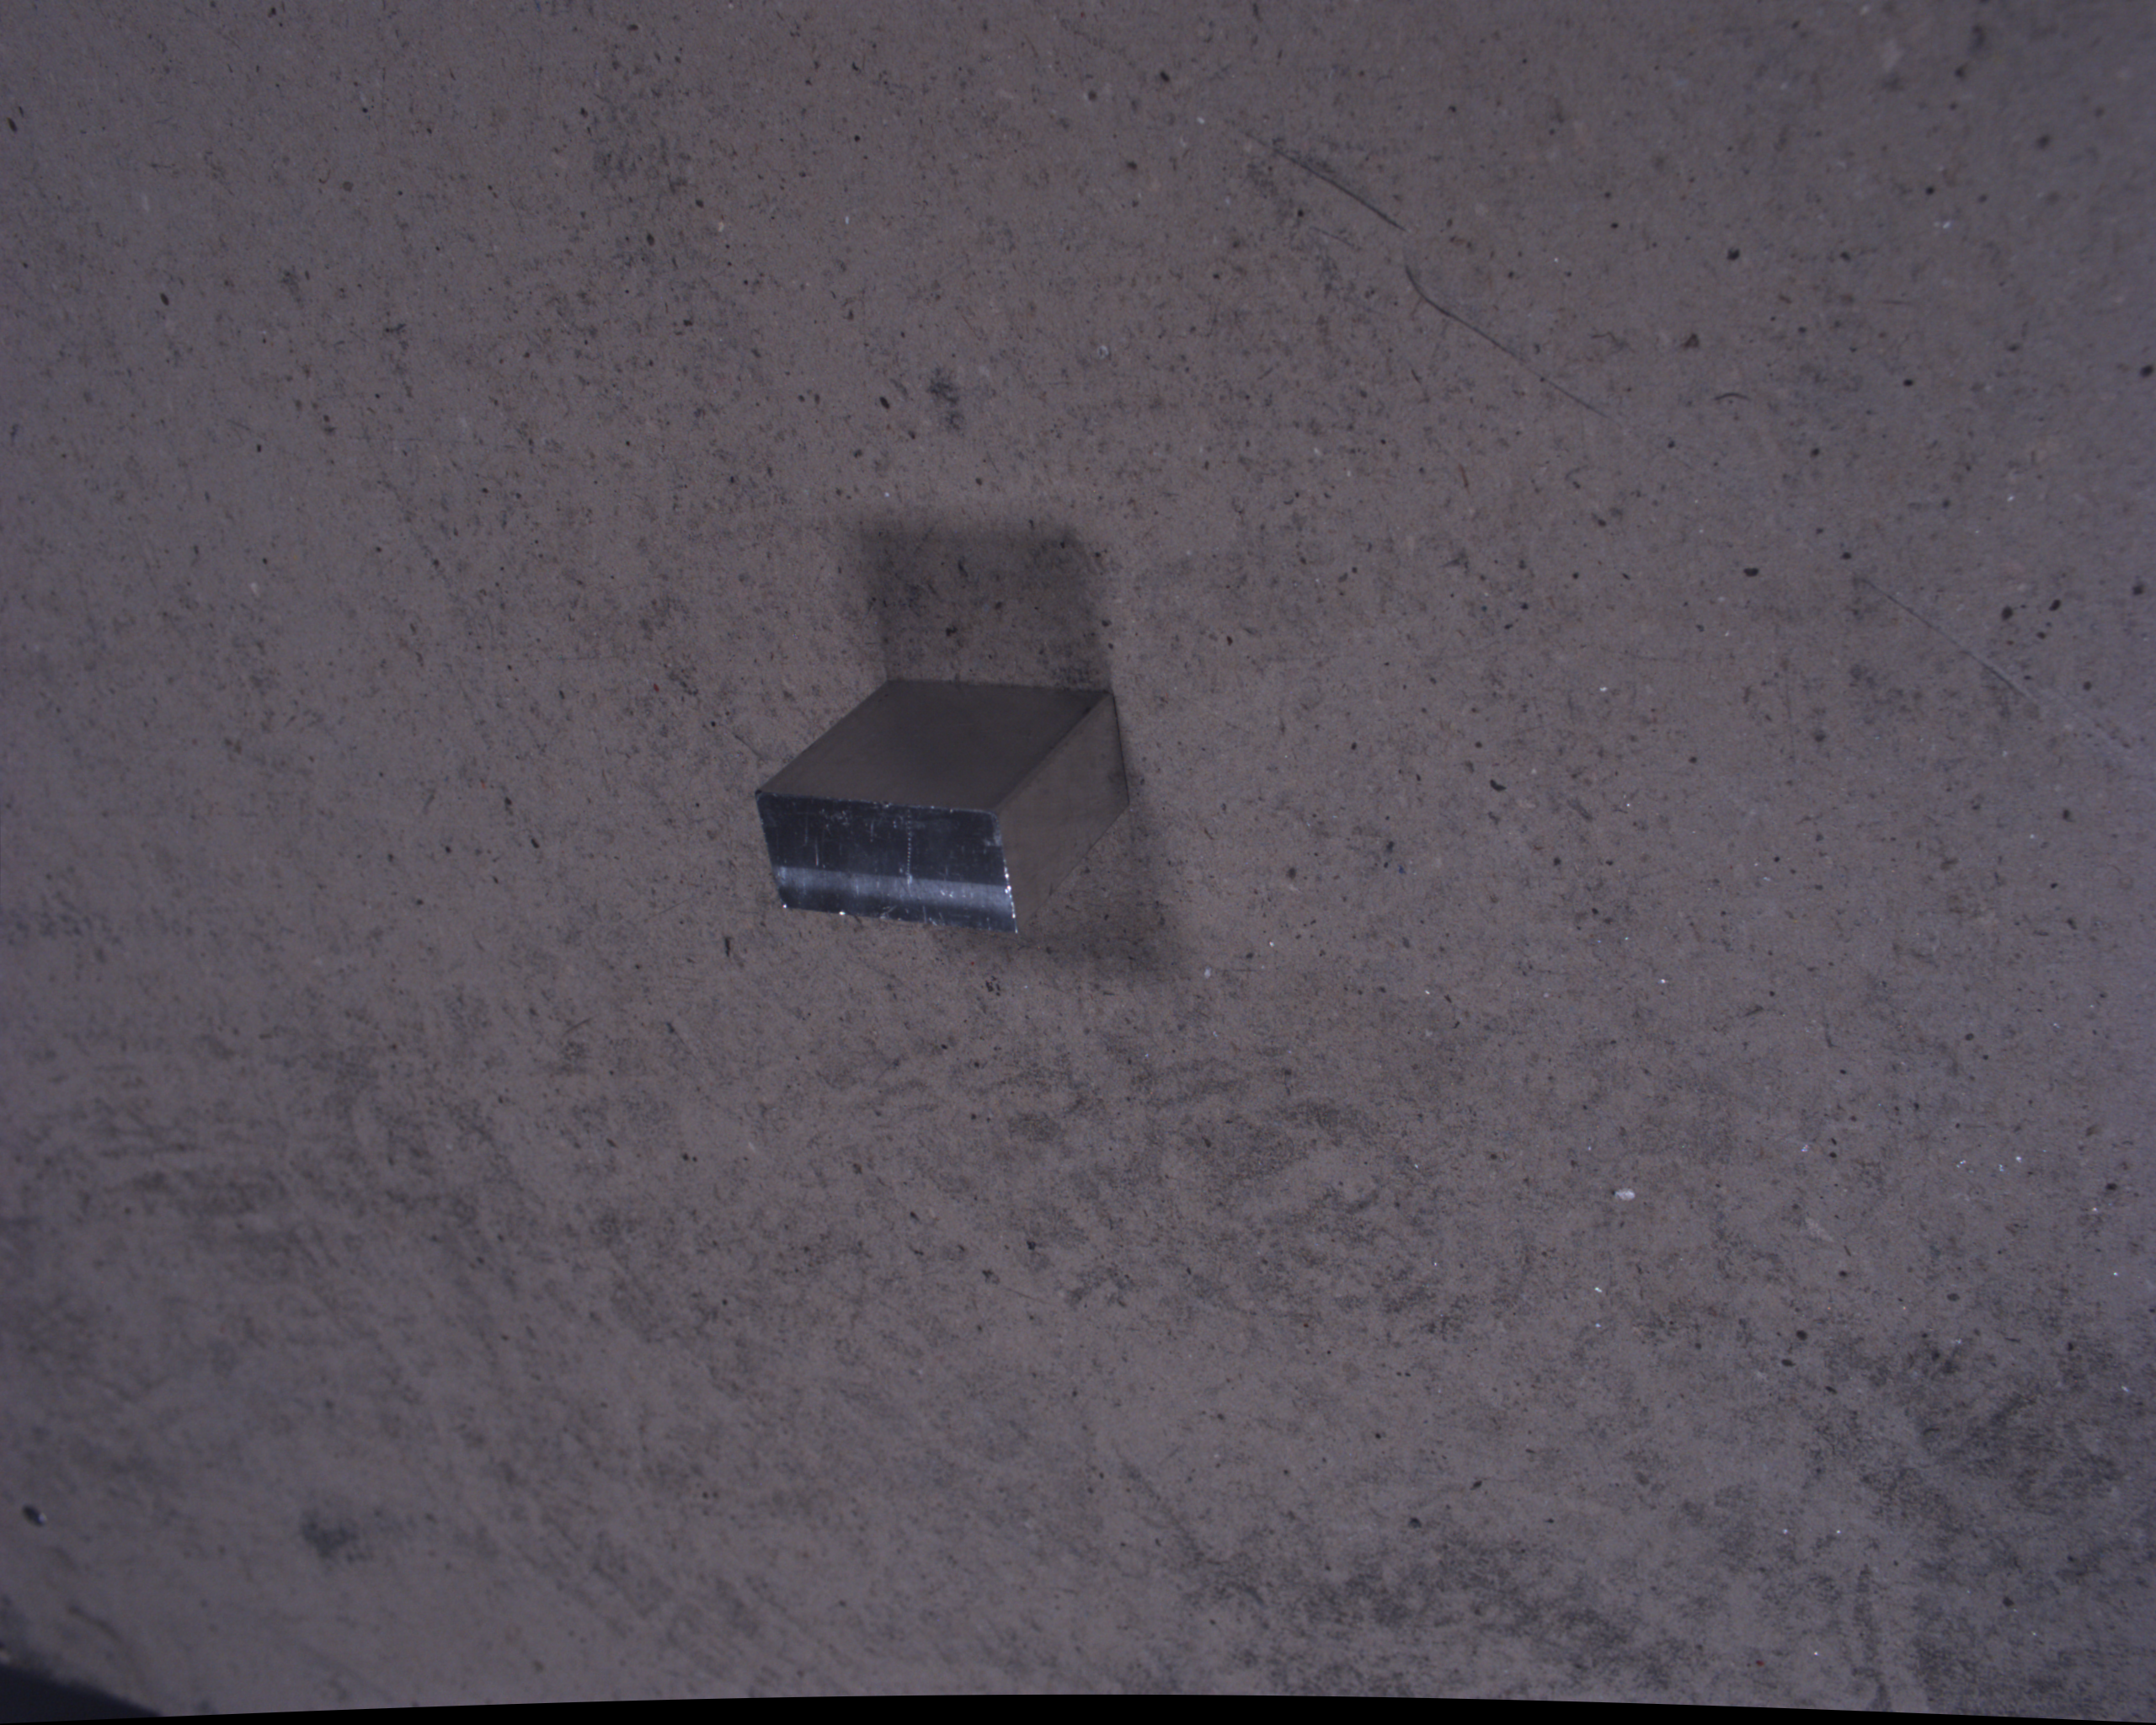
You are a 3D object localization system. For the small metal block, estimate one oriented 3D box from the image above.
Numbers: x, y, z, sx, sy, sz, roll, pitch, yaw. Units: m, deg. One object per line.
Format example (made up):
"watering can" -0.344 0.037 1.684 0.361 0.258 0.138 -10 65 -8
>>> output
"small metal block" -0.025 -0.012 0.396 0.050 0.050 0.025 5 121 25
